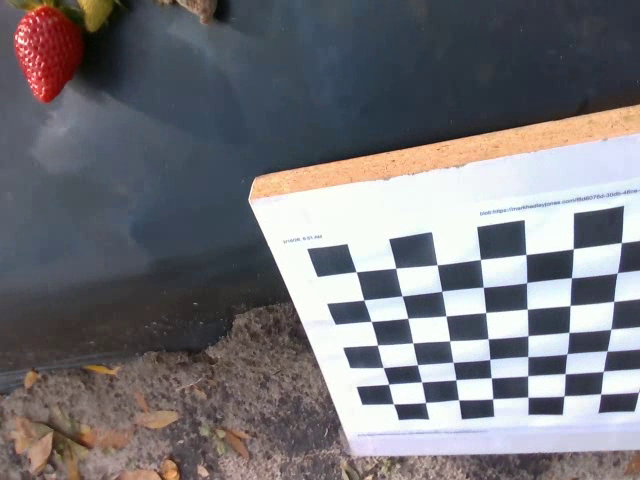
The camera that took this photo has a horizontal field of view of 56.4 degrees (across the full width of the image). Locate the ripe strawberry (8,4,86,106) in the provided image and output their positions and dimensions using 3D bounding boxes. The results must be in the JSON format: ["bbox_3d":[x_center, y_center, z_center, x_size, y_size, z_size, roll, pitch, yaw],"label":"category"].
[{"bbox_3d":[-0.141,-0.106,0.319,0.045,0.058,0.050,-3,-7,12],"label":"ripe strawberry"}]
